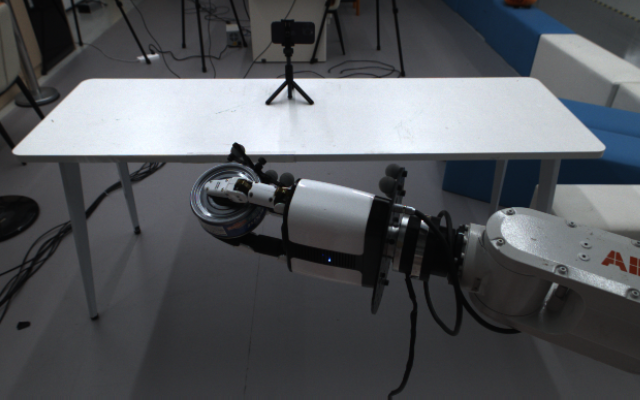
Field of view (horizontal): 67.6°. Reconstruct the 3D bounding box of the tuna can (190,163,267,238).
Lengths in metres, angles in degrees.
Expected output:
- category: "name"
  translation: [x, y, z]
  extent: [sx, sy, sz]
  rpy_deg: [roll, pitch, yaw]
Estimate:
- category: "tuna can"
  translation: [-0.103, -0.001, 0.561]
  extent: [0.085, 0.034, 0.085]
  rpy_deg: [-4, 58, 6]
